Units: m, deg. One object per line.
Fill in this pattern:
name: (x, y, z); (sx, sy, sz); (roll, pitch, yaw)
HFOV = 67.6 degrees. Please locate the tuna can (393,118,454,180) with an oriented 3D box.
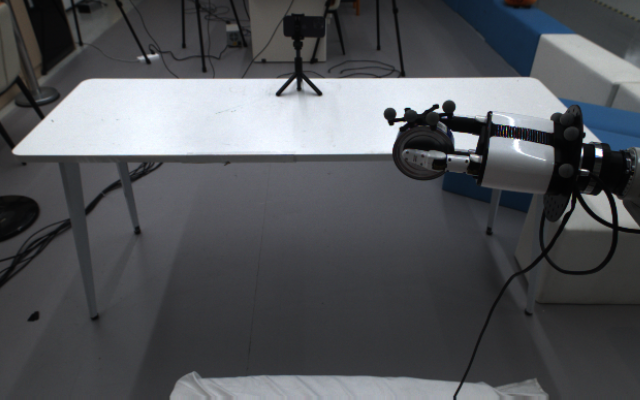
tuna can: (0.150, -0.074, 0.691); (0.085, 0.085, 0.034); (10, 34, 11)
